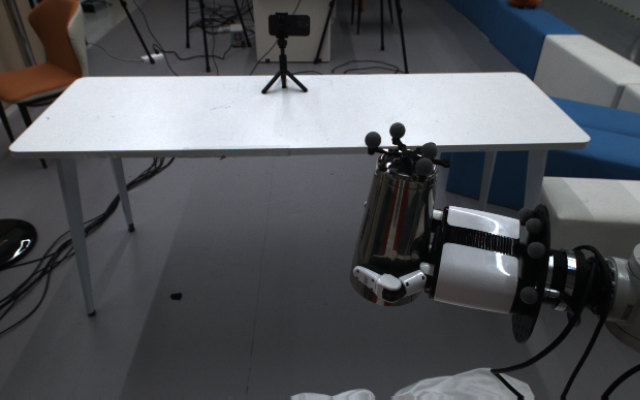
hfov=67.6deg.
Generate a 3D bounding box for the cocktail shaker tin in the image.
[{"bbox_3d":[0.090,0.029,0.566,0.093,0.170,0.093,3,34,-2],"label":"cocktail shaker tin"}]
